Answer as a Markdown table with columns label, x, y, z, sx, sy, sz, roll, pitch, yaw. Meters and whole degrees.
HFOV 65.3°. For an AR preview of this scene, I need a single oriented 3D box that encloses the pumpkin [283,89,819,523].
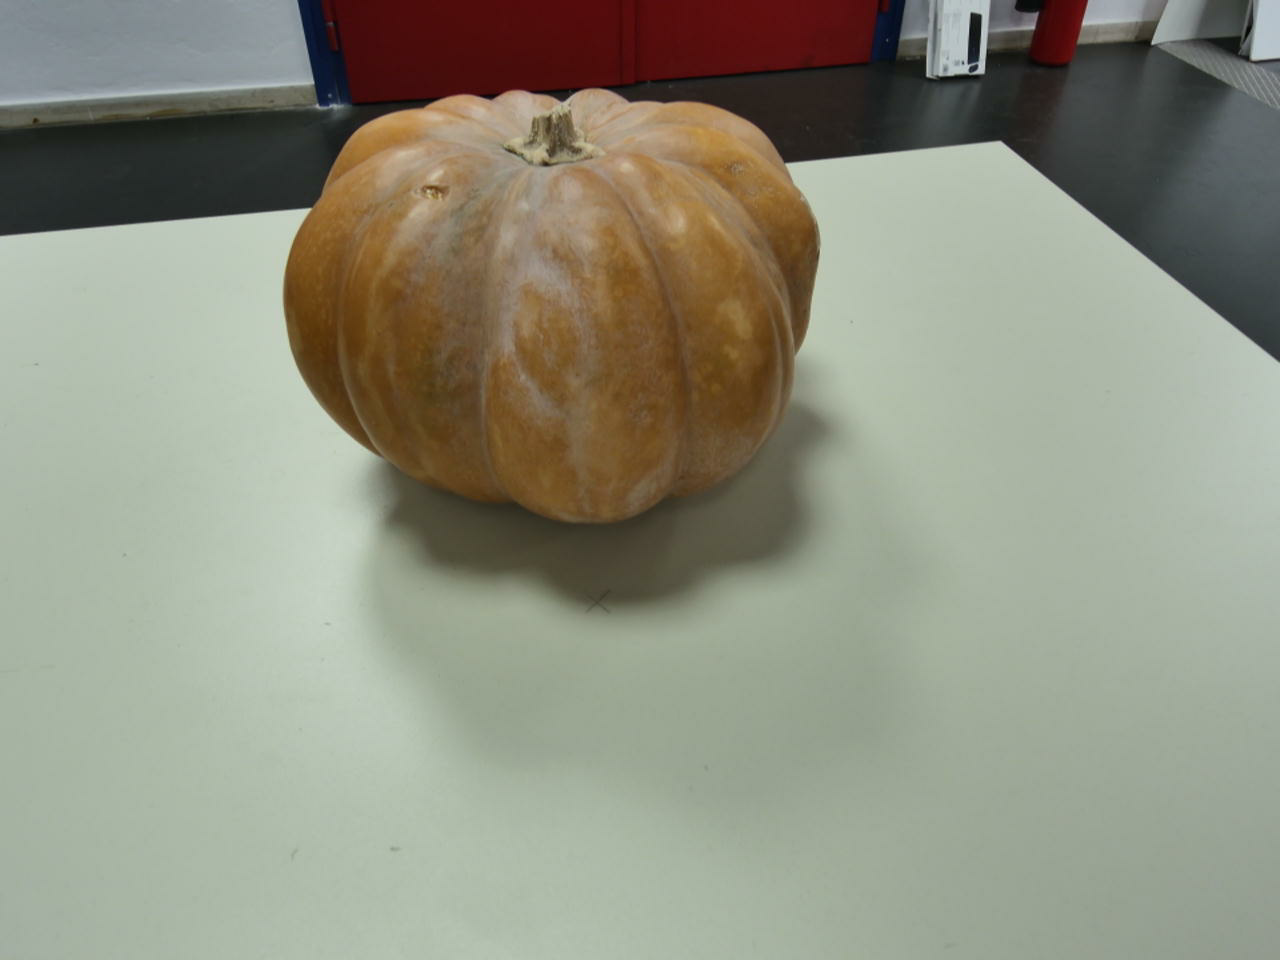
| label | x | y | z | sx | sy | sz | roll | pitch | yaw |
| --- | --- | --- | --- | --- | --- | --- | --- | --- | --- |
| pumpkin | -0.039 | -0.095 | 0.504 | 0.277 | 0.181 | 0.277 | 0 | 39 | 0 |
